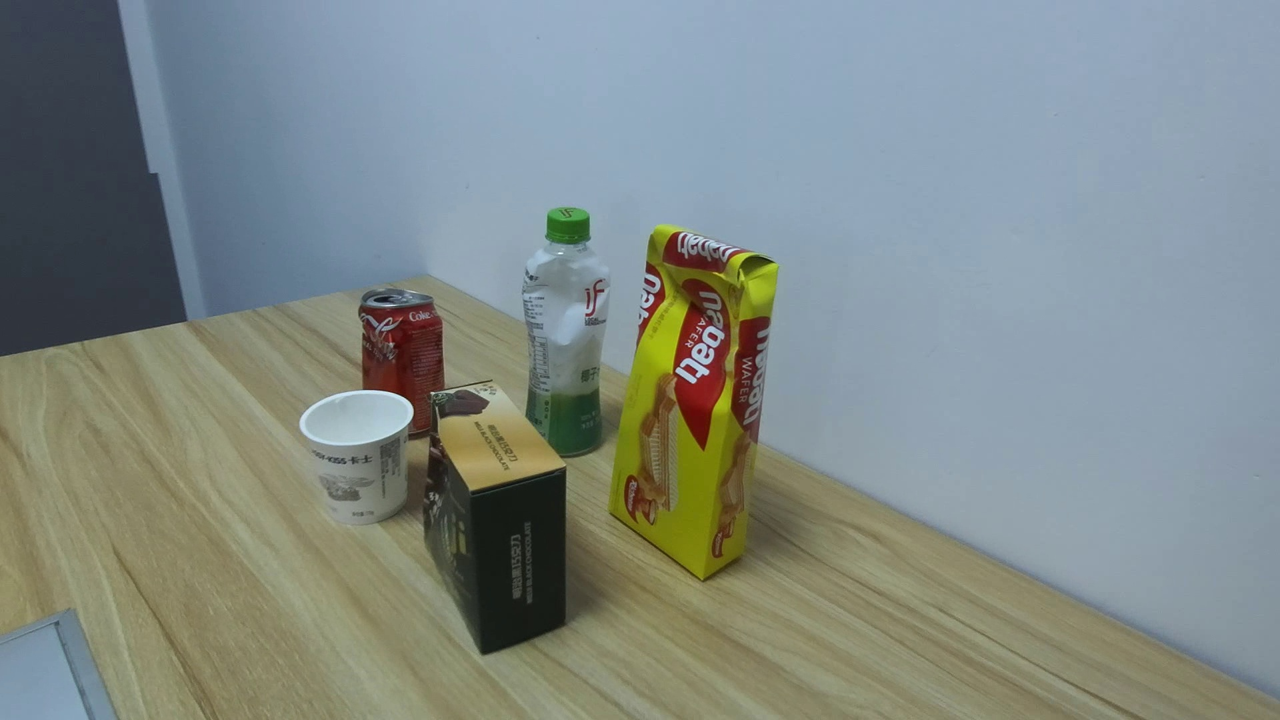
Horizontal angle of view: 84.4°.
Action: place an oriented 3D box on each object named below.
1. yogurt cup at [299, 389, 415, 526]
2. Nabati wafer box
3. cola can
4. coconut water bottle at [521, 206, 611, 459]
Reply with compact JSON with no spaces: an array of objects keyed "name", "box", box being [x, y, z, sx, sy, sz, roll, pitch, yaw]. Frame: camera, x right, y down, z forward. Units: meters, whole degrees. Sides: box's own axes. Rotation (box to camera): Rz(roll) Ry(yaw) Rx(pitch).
[{"name":"yogurt cup","box":[-0.186,0.067,0.474,0.072,0.068,0.072,3,25,-1]},{"name":"Nabati wafer box","box":[0.030,0.026,0.435,0.043,0.205,0.112,-17,31,-40]},{"name":"cola can","box":[-0.190,0.004,0.564,0.066,0.112,0.069,-9,22,-25]},{"name":"coconut water bottle","box":[-0.056,-0.020,0.541,0.069,0.187,0.069,5,22,-2]}]
